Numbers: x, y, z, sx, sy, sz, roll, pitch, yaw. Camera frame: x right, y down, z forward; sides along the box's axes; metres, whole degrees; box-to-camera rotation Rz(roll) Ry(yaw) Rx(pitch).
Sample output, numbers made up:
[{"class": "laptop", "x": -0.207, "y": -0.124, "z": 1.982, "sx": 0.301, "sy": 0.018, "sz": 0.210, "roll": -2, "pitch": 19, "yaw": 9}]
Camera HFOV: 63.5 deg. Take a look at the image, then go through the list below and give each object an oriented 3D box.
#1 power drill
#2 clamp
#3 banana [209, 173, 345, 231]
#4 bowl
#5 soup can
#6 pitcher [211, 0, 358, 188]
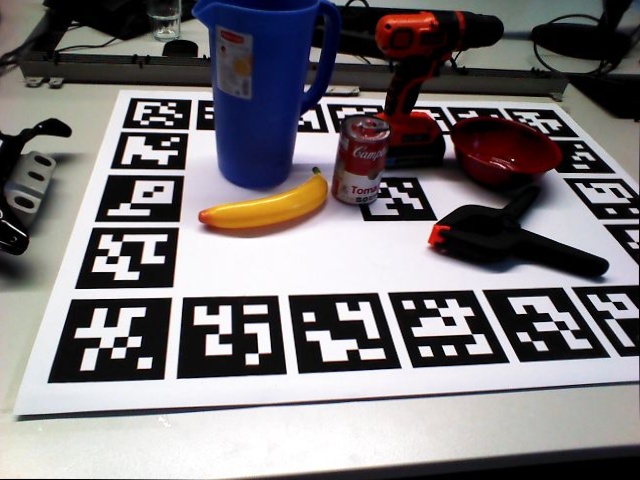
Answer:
[{"class": "power drill", "x": 0.187, "y": -0.217, "z": 0.729, "sx": 0.184, "sy": 0.188, "sz": 0.057, "roll": -4, "pitch": 43, "yaw": -13}, {"class": "clamp", "x": 0.258, "y": -0.010, "z": 0.637, "sx": 0.203, "sy": 0.037, "sz": 0.164, "roll": -3, "pitch": 46, "yaw": -11}, {"class": "banana", "x": -0.040, "y": -0.044, "z": 0.646, "sx": 0.196, "sy": 0.039, "sz": 0.074, "roll": -19, "pitch": 39, "yaw": -29}, {"class": "bowl", "x": 0.295, "y": -0.118, "z": 0.760, "sx": 0.162, "sy": 0.055, "sz": 0.161, "roll": 4, "pitch": 43, "yaw": -4}, {"class": "soup can", "x": 0.078, "y": -0.104, "z": 0.681, "sx": 0.068, "sy": 0.102, "sz": 0.067, "roll": 3, "pitch": 33, "yaw": -2}, {"class": "pitcher", "x": -0.043, "y": -0.196, "z": 0.659, "sx": 0.188, "sy": 0.243, "sz": 0.133, "roll": -19, "pitch": 45, "yaw": -27}]
